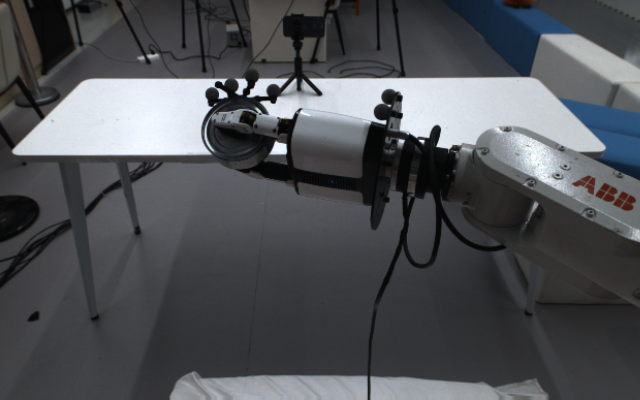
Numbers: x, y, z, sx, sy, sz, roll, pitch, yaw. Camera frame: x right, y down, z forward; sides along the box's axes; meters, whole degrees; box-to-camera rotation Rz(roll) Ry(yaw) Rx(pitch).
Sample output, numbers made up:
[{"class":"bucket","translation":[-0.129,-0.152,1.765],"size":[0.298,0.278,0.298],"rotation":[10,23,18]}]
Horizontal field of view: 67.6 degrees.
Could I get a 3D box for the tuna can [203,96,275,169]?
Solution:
[{"class":"tuna can","translation":[-0.096,-0.082,0.595],"size":[0.085,0.034,0.085],"rotation":[-2,69,6]}]
